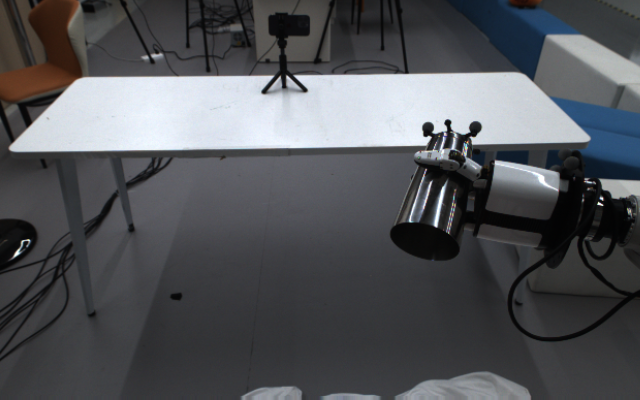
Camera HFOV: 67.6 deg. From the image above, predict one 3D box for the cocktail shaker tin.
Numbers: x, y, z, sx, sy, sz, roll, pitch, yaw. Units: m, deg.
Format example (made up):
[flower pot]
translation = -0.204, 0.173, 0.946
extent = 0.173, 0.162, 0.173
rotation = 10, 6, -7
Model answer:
[cocktail shaker tin]
translation = 0.163, -0.014, 0.669
extent = 0.093, 0.093, 0.170
rotation = 14, 57, 16
